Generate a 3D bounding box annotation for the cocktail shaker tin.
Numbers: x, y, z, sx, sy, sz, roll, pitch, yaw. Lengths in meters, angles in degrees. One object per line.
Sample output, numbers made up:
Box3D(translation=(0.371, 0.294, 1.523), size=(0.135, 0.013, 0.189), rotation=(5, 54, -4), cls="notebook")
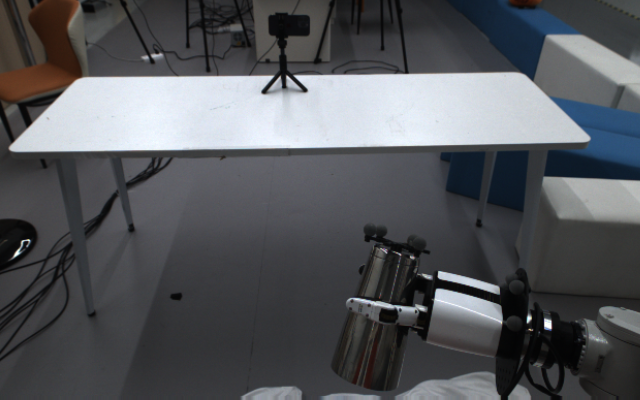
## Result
Box3D(translation=(0.080, 0.148, 0.640), size=(0.093, 0.170, 0.093), rotation=(14, 2, 0), cls="cocktail shaker tin")
